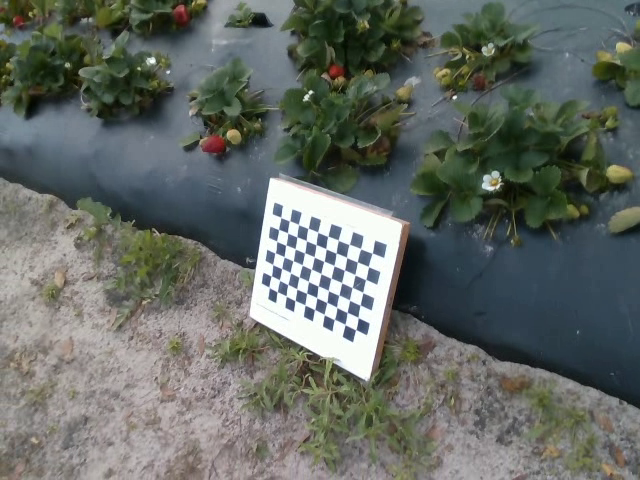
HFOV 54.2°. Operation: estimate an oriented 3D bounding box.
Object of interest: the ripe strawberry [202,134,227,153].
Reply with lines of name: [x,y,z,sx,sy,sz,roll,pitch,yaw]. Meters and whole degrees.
ripe strawberry: [-0.231,-0.200,1.325,0.046,0.046,0.059,15,36,39]
